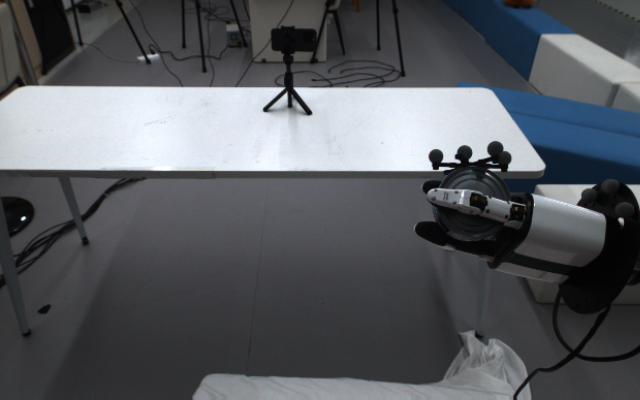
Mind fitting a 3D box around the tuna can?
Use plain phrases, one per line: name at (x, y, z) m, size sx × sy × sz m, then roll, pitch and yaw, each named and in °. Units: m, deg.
tuna can at (0.178, 0.003, 0.571) m, size 0.085 × 0.034 × 0.085 m, roll -1°, pitch 75°, yaw 4°
